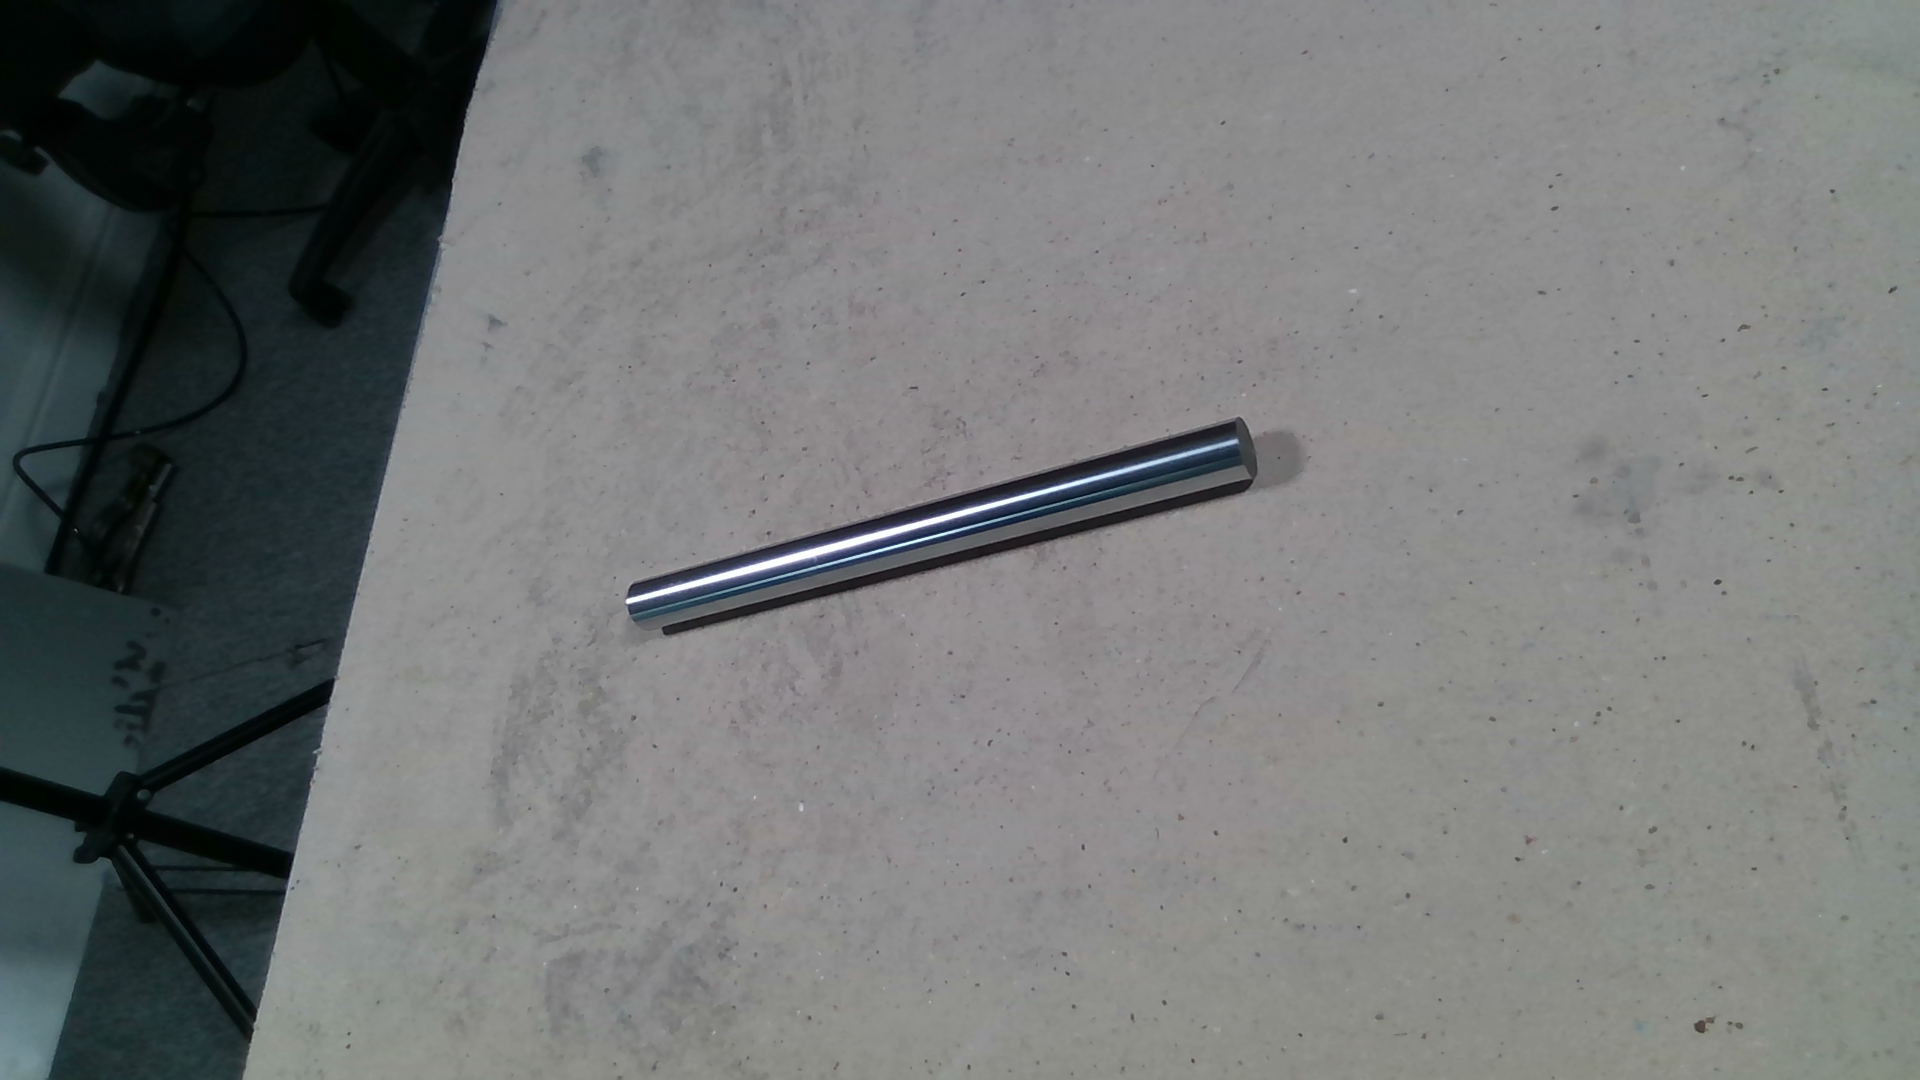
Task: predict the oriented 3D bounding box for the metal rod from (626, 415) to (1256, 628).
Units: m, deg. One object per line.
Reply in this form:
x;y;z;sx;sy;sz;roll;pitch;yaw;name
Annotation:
-0.021;-0.003;0.600;0.300;0.025;0.025;-14;59;25;metal rod
